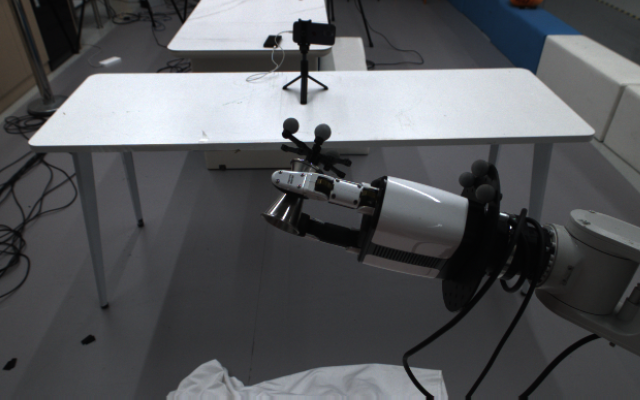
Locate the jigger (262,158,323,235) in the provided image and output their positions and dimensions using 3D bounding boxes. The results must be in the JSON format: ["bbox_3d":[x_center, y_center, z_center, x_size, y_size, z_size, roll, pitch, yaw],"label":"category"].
[{"bbox_3d":[-0.027,-0.006,0.502,0.043,0.043,0.071,19,72,23],"label":"jigger"}]
